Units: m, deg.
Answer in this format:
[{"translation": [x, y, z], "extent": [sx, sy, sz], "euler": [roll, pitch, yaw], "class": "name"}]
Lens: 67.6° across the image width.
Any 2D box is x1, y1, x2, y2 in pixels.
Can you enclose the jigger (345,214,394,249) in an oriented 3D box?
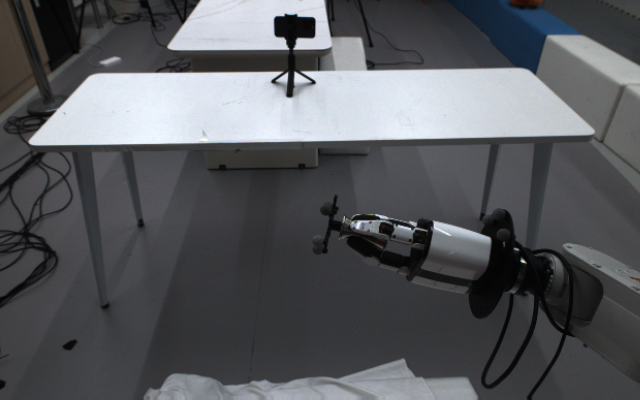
[{"translation": [0.071, 0.044, 0.706], "extent": [0.071, 0.043, 0.043], "euler": [13, 36, 3], "class": "jigger"}]
